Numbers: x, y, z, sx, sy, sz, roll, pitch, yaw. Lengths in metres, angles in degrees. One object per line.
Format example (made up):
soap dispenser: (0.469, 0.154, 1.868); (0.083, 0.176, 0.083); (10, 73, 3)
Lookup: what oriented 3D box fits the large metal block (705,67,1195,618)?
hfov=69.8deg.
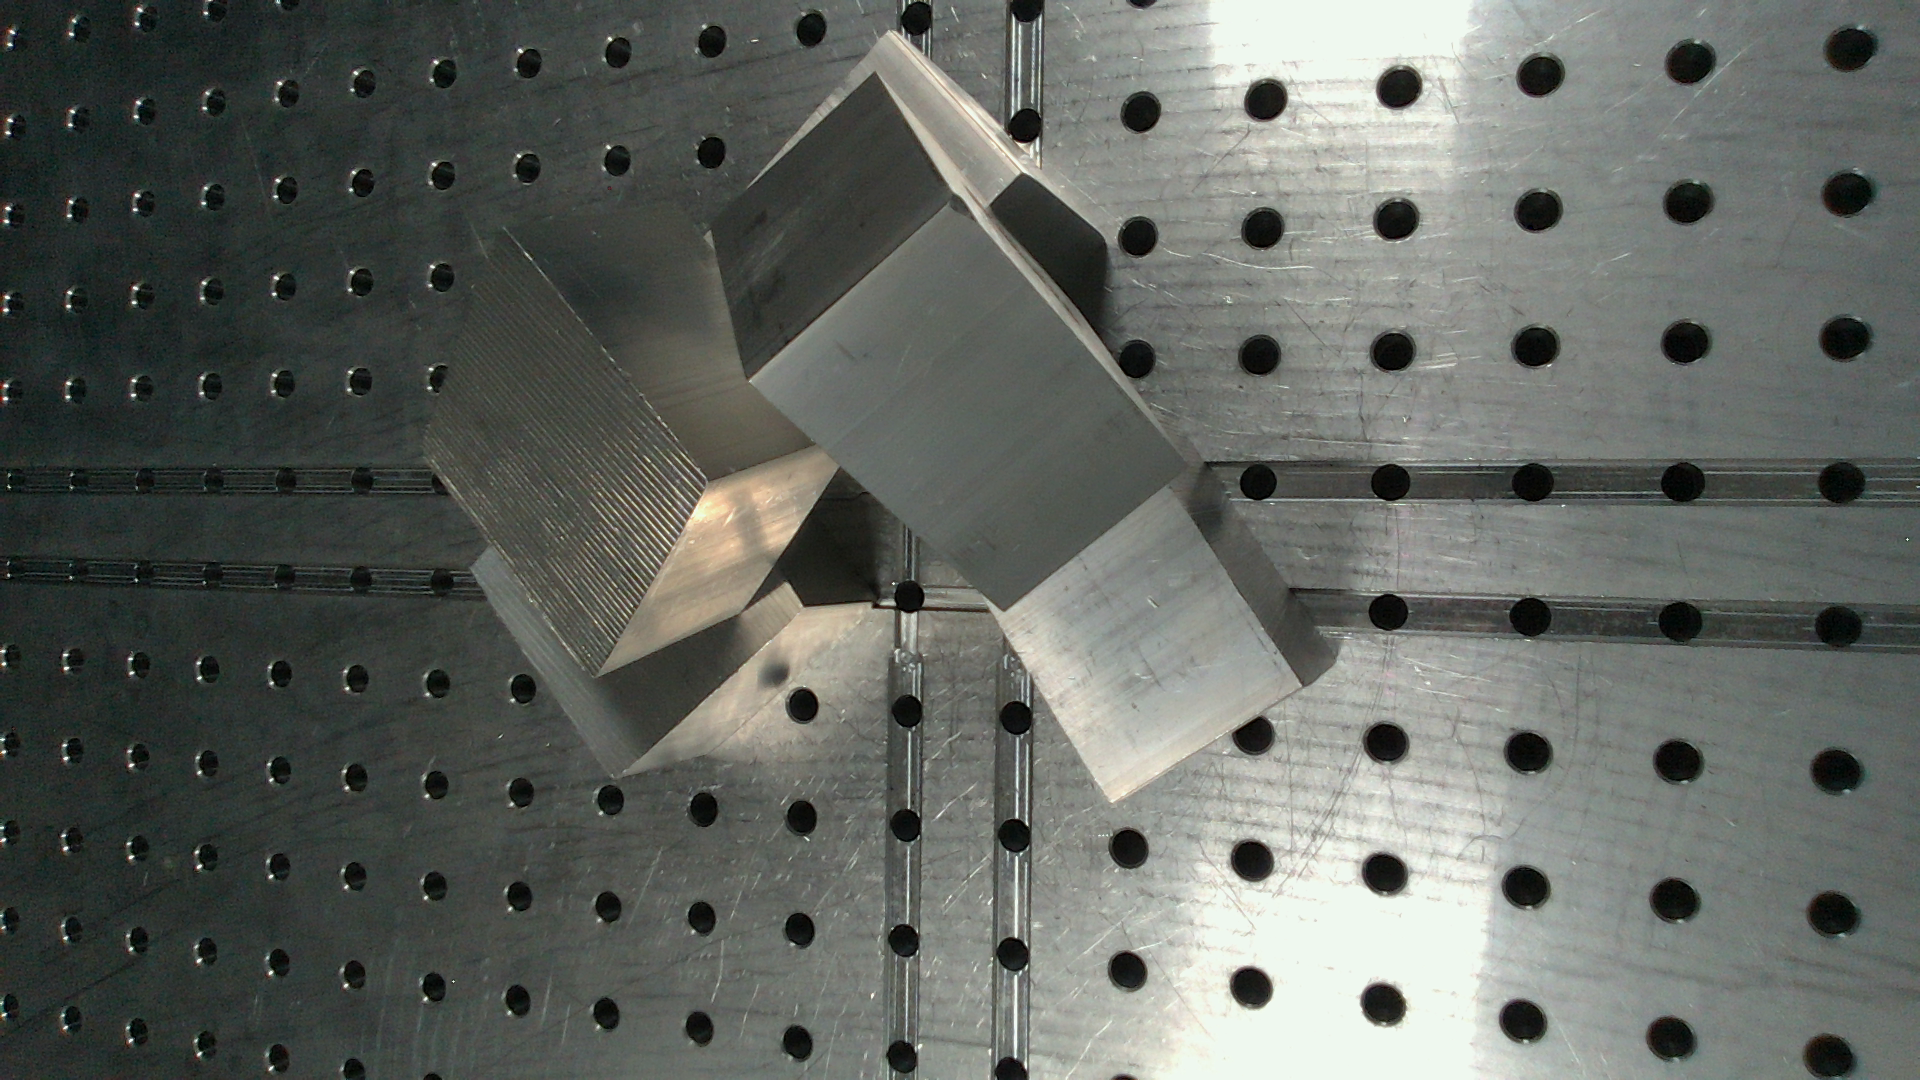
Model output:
large metal block: (-0.005, -0.043, 0.295); (0.050, 0.080, 0.080); (-39, 35, 11)

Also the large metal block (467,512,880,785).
large metal block: (-0.086, 0.014, 0.416); (0.080, 0.050, 0.080); (-41, 77, 15)

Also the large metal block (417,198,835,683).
large metal block: (-0.083, -0.025, 0.345); (0.080, 0.050, 0.080); (49, 131, 13)

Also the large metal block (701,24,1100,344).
large metal block: (-0.016, -0.079, 0.373); (0.080, 0.080, 0.050); (-44, 76, 15)

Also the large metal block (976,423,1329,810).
large metal block: (0.047, 0.014, 0.351); (0.050, 0.080, 0.080); (-36, 79, 17)
